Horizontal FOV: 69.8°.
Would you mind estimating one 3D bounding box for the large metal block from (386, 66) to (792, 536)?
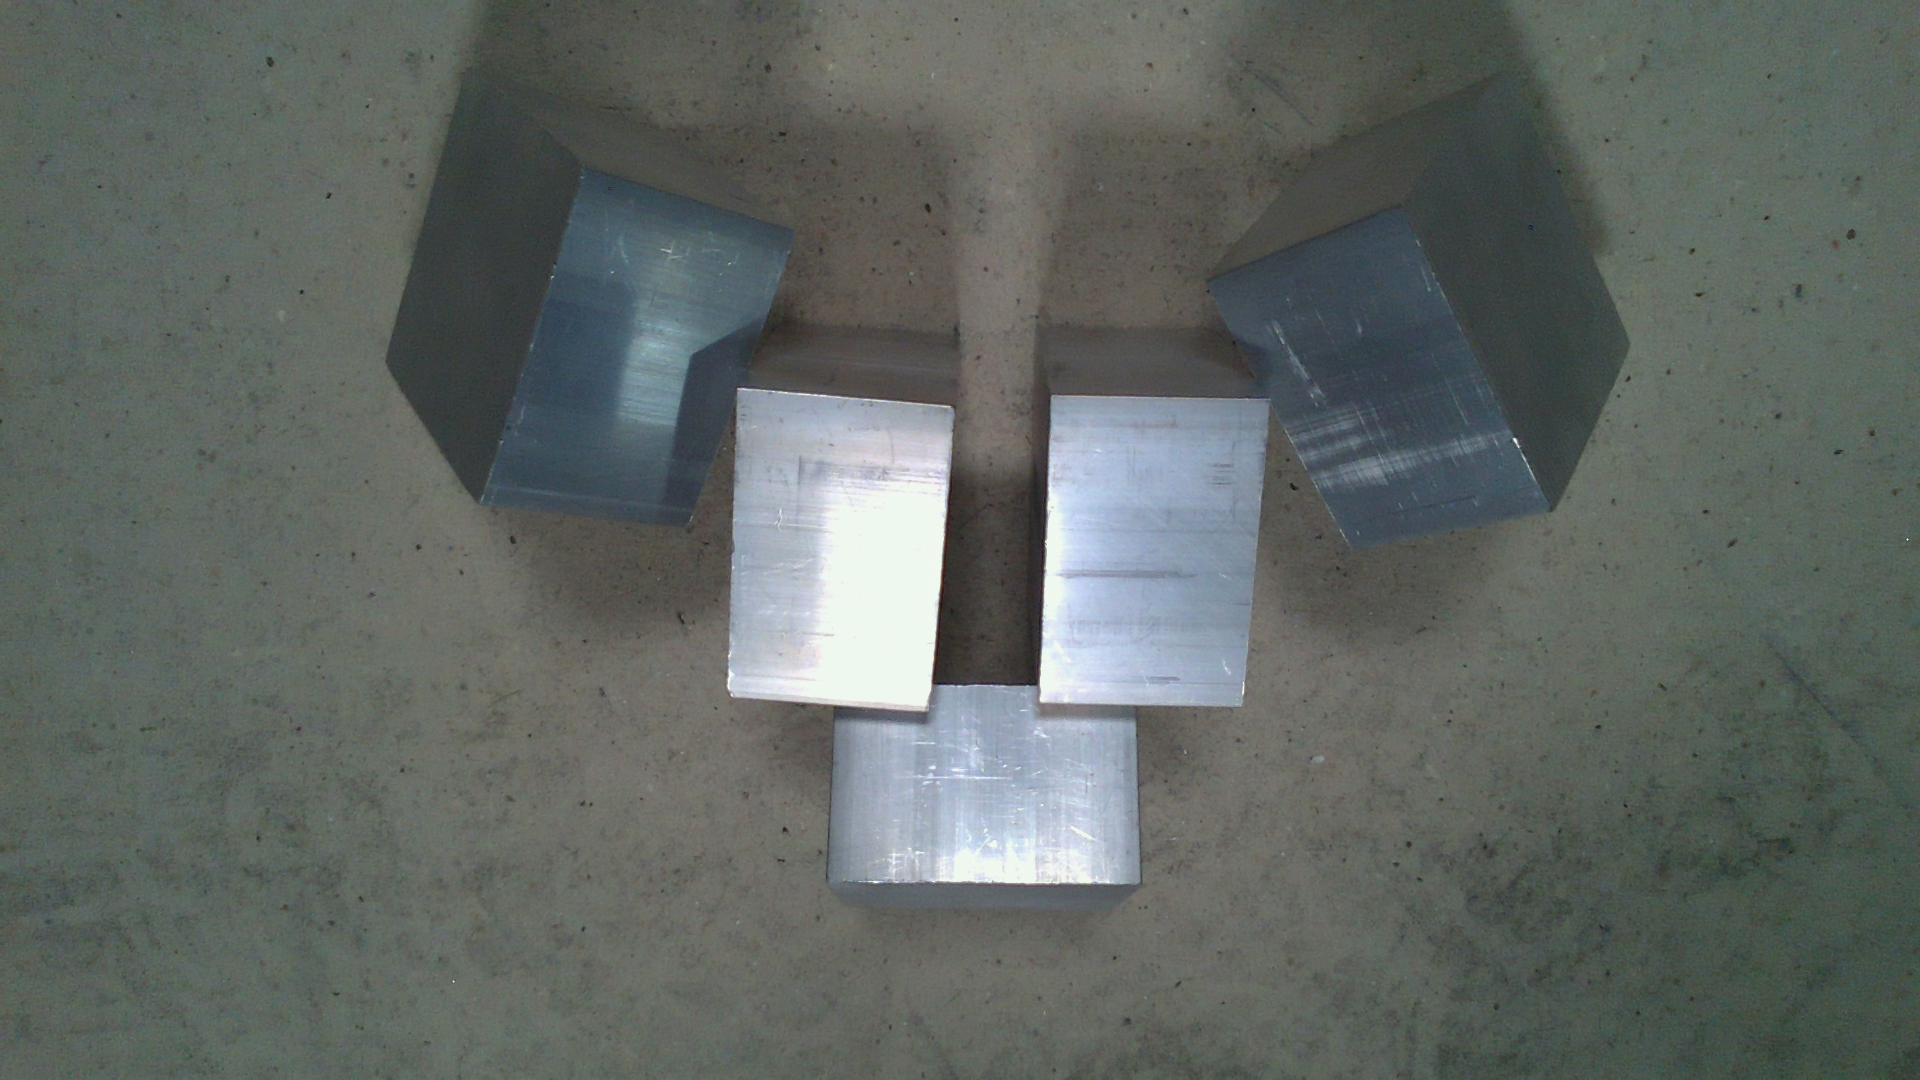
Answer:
[{"bbox_3d":[-0.093,-0.058,0.334,0.050,0.080,0.080,7,115,-41],"label":"large metal block"}]

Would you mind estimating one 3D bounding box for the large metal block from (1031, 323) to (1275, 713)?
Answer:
[{"bbox_3d":[0.046,-0.009,0.362,0.050,0.080,0.080,1,110,0],"label":"large metal block"}]

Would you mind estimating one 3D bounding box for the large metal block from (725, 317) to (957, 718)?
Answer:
[{"bbox_3d":[-0.029,-0.009,0.361,0.050,0.080,0.080,4,110,-2],"label":"large metal block"}]

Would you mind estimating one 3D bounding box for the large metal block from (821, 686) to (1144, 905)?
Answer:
[{"bbox_3d":[0.006,0.075,0.386,0.080,0.080,0.050,1,71,0],"label":"large metal block"}]

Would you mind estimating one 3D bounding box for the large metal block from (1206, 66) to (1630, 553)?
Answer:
[{"bbox_3d":[0.116,-0.056,0.338,0.050,0.080,0.080,-15,114,46],"label":"large metal block"}]
